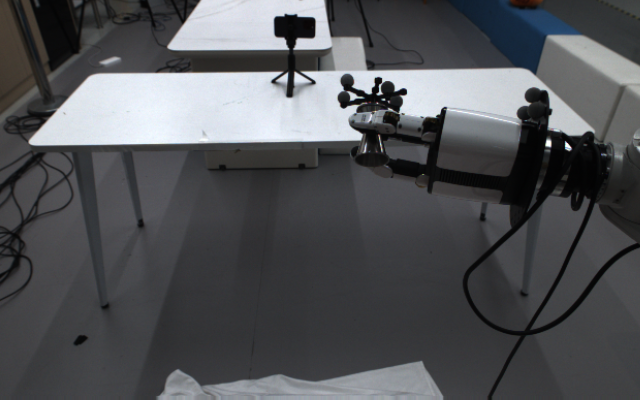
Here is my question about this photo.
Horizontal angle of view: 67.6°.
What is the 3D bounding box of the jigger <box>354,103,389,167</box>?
[{"bbox_3d":[0.062,-0.082,0.595,0.043,0.043,0.071,3,72,1],"label":"jigger"}]
